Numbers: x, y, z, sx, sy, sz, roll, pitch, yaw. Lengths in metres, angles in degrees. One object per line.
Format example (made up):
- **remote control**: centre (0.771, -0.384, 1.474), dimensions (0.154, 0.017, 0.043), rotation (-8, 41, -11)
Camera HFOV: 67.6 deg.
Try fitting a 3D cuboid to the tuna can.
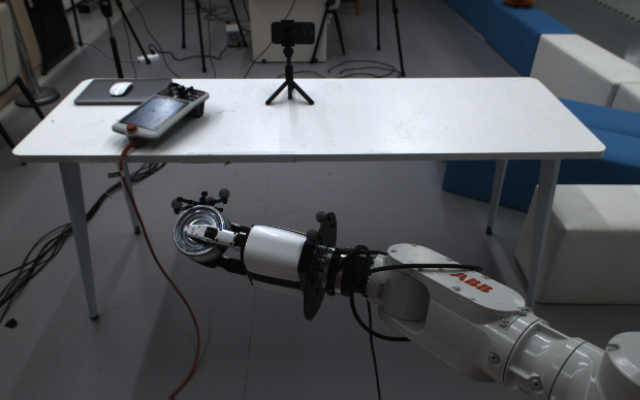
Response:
- **tuna can**: centre (-0.180, 0.051, 0.746), dimensions (0.085, 0.034, 0.085), rotation (-4, 68, 9)
